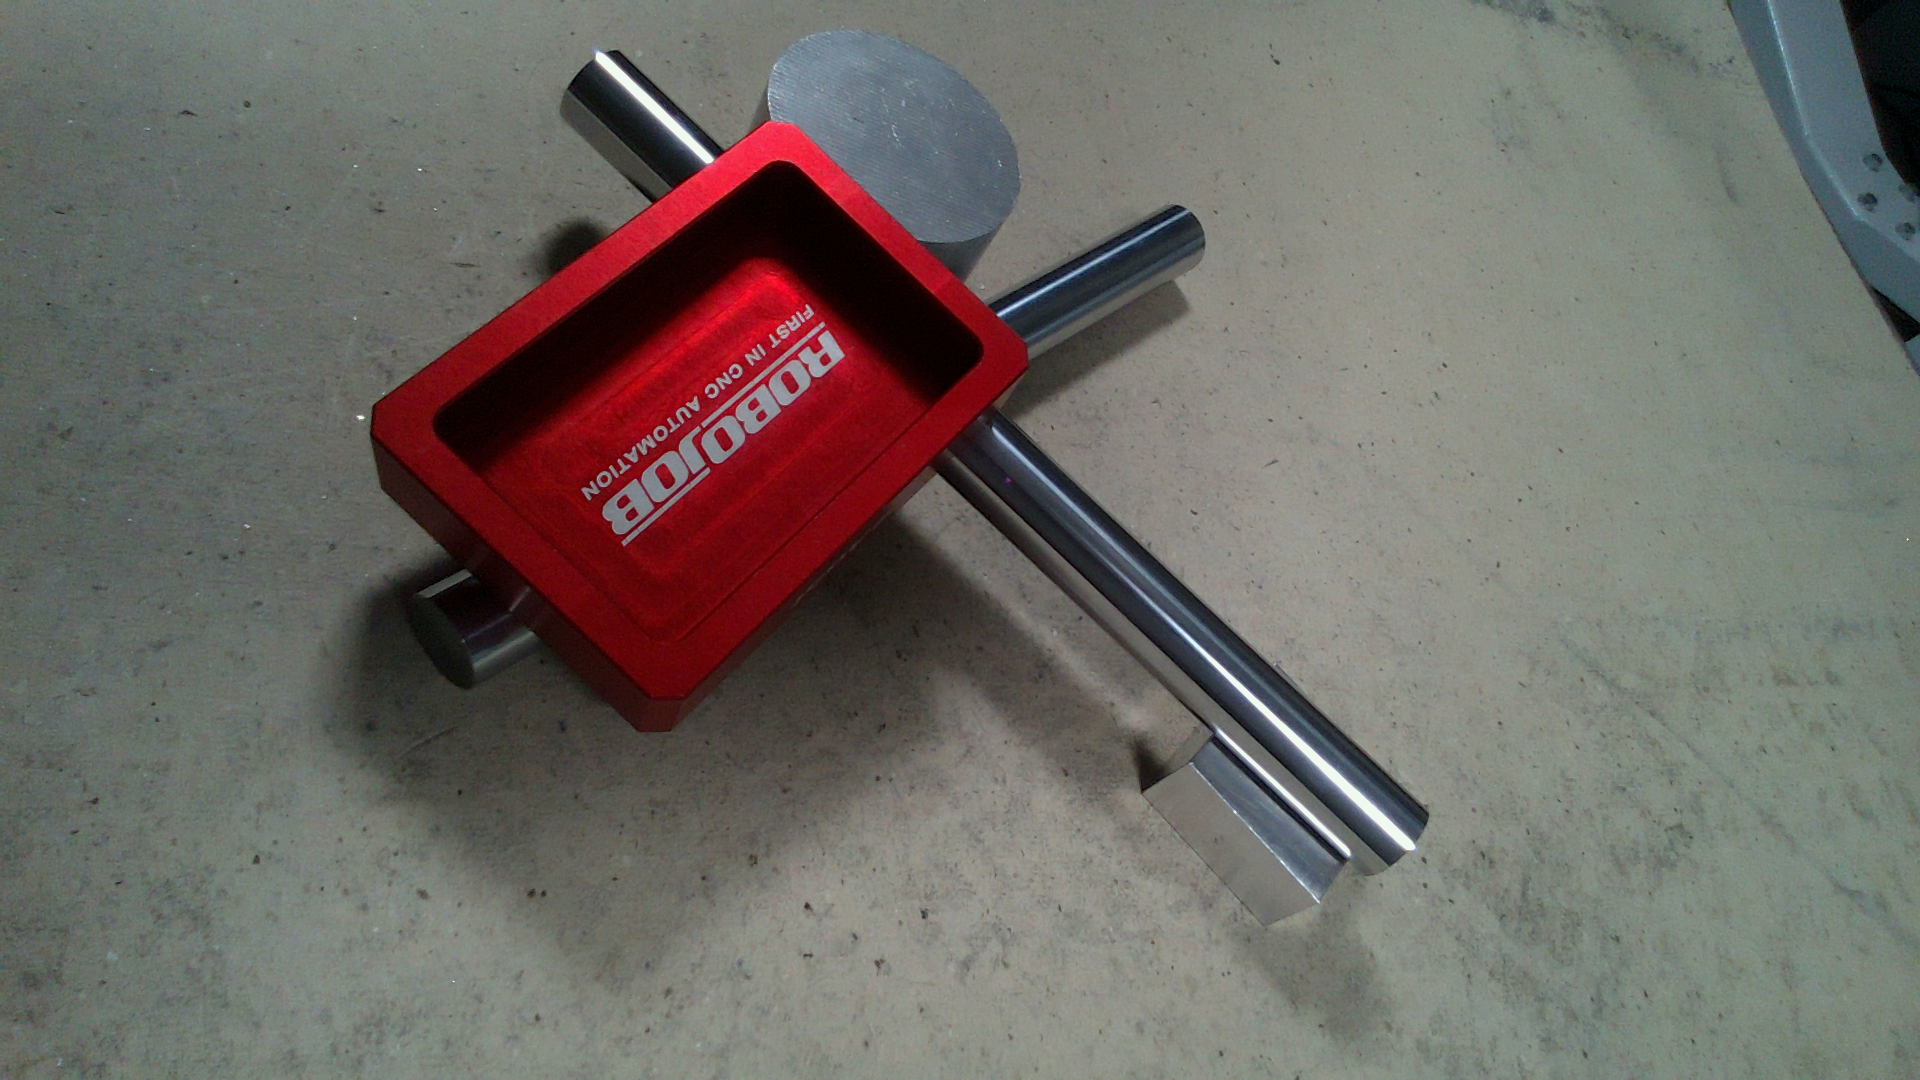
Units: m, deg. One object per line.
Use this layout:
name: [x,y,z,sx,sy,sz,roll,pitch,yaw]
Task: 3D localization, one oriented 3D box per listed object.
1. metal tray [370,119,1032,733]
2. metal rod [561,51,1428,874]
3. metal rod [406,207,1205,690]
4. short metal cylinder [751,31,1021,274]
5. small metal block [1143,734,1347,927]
metal tray: [-0.056,-0.031,0.325,0.090,0.030,0.130,43,63,2]
metal rod: [0.008,-0.022,0.376,0.300,0.025,0.025,43,51,2]
metal rod: [-0.020,-0.043,0.405,0.301,0.025,0.025,-34,81,-38]
short metal cylinder: [-0.028,-0.108,0.424,0.080,0.050,0.080,14,56,-21]
small metal block: [0.089,0.072,0.393,0.050,0.025,0.050,47,51,5]
